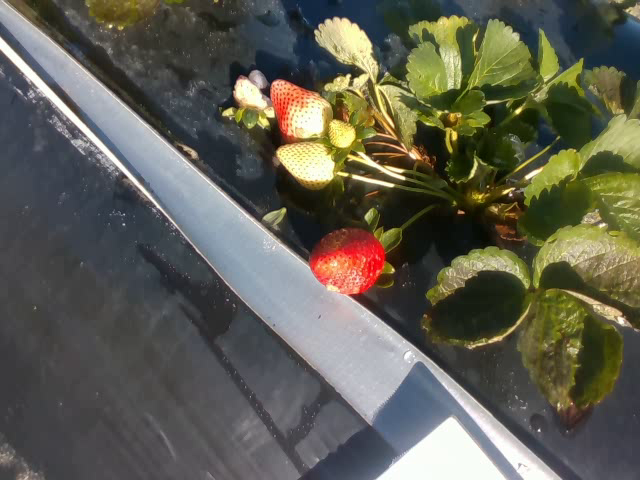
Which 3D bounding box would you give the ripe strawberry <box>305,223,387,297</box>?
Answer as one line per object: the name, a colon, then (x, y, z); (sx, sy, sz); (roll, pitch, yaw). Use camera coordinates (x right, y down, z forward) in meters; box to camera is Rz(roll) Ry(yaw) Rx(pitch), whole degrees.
ripe strawberry: (0.008, 0.008, 0.270); (0.036, 0.038, 0.046); (47, 17, 23)
